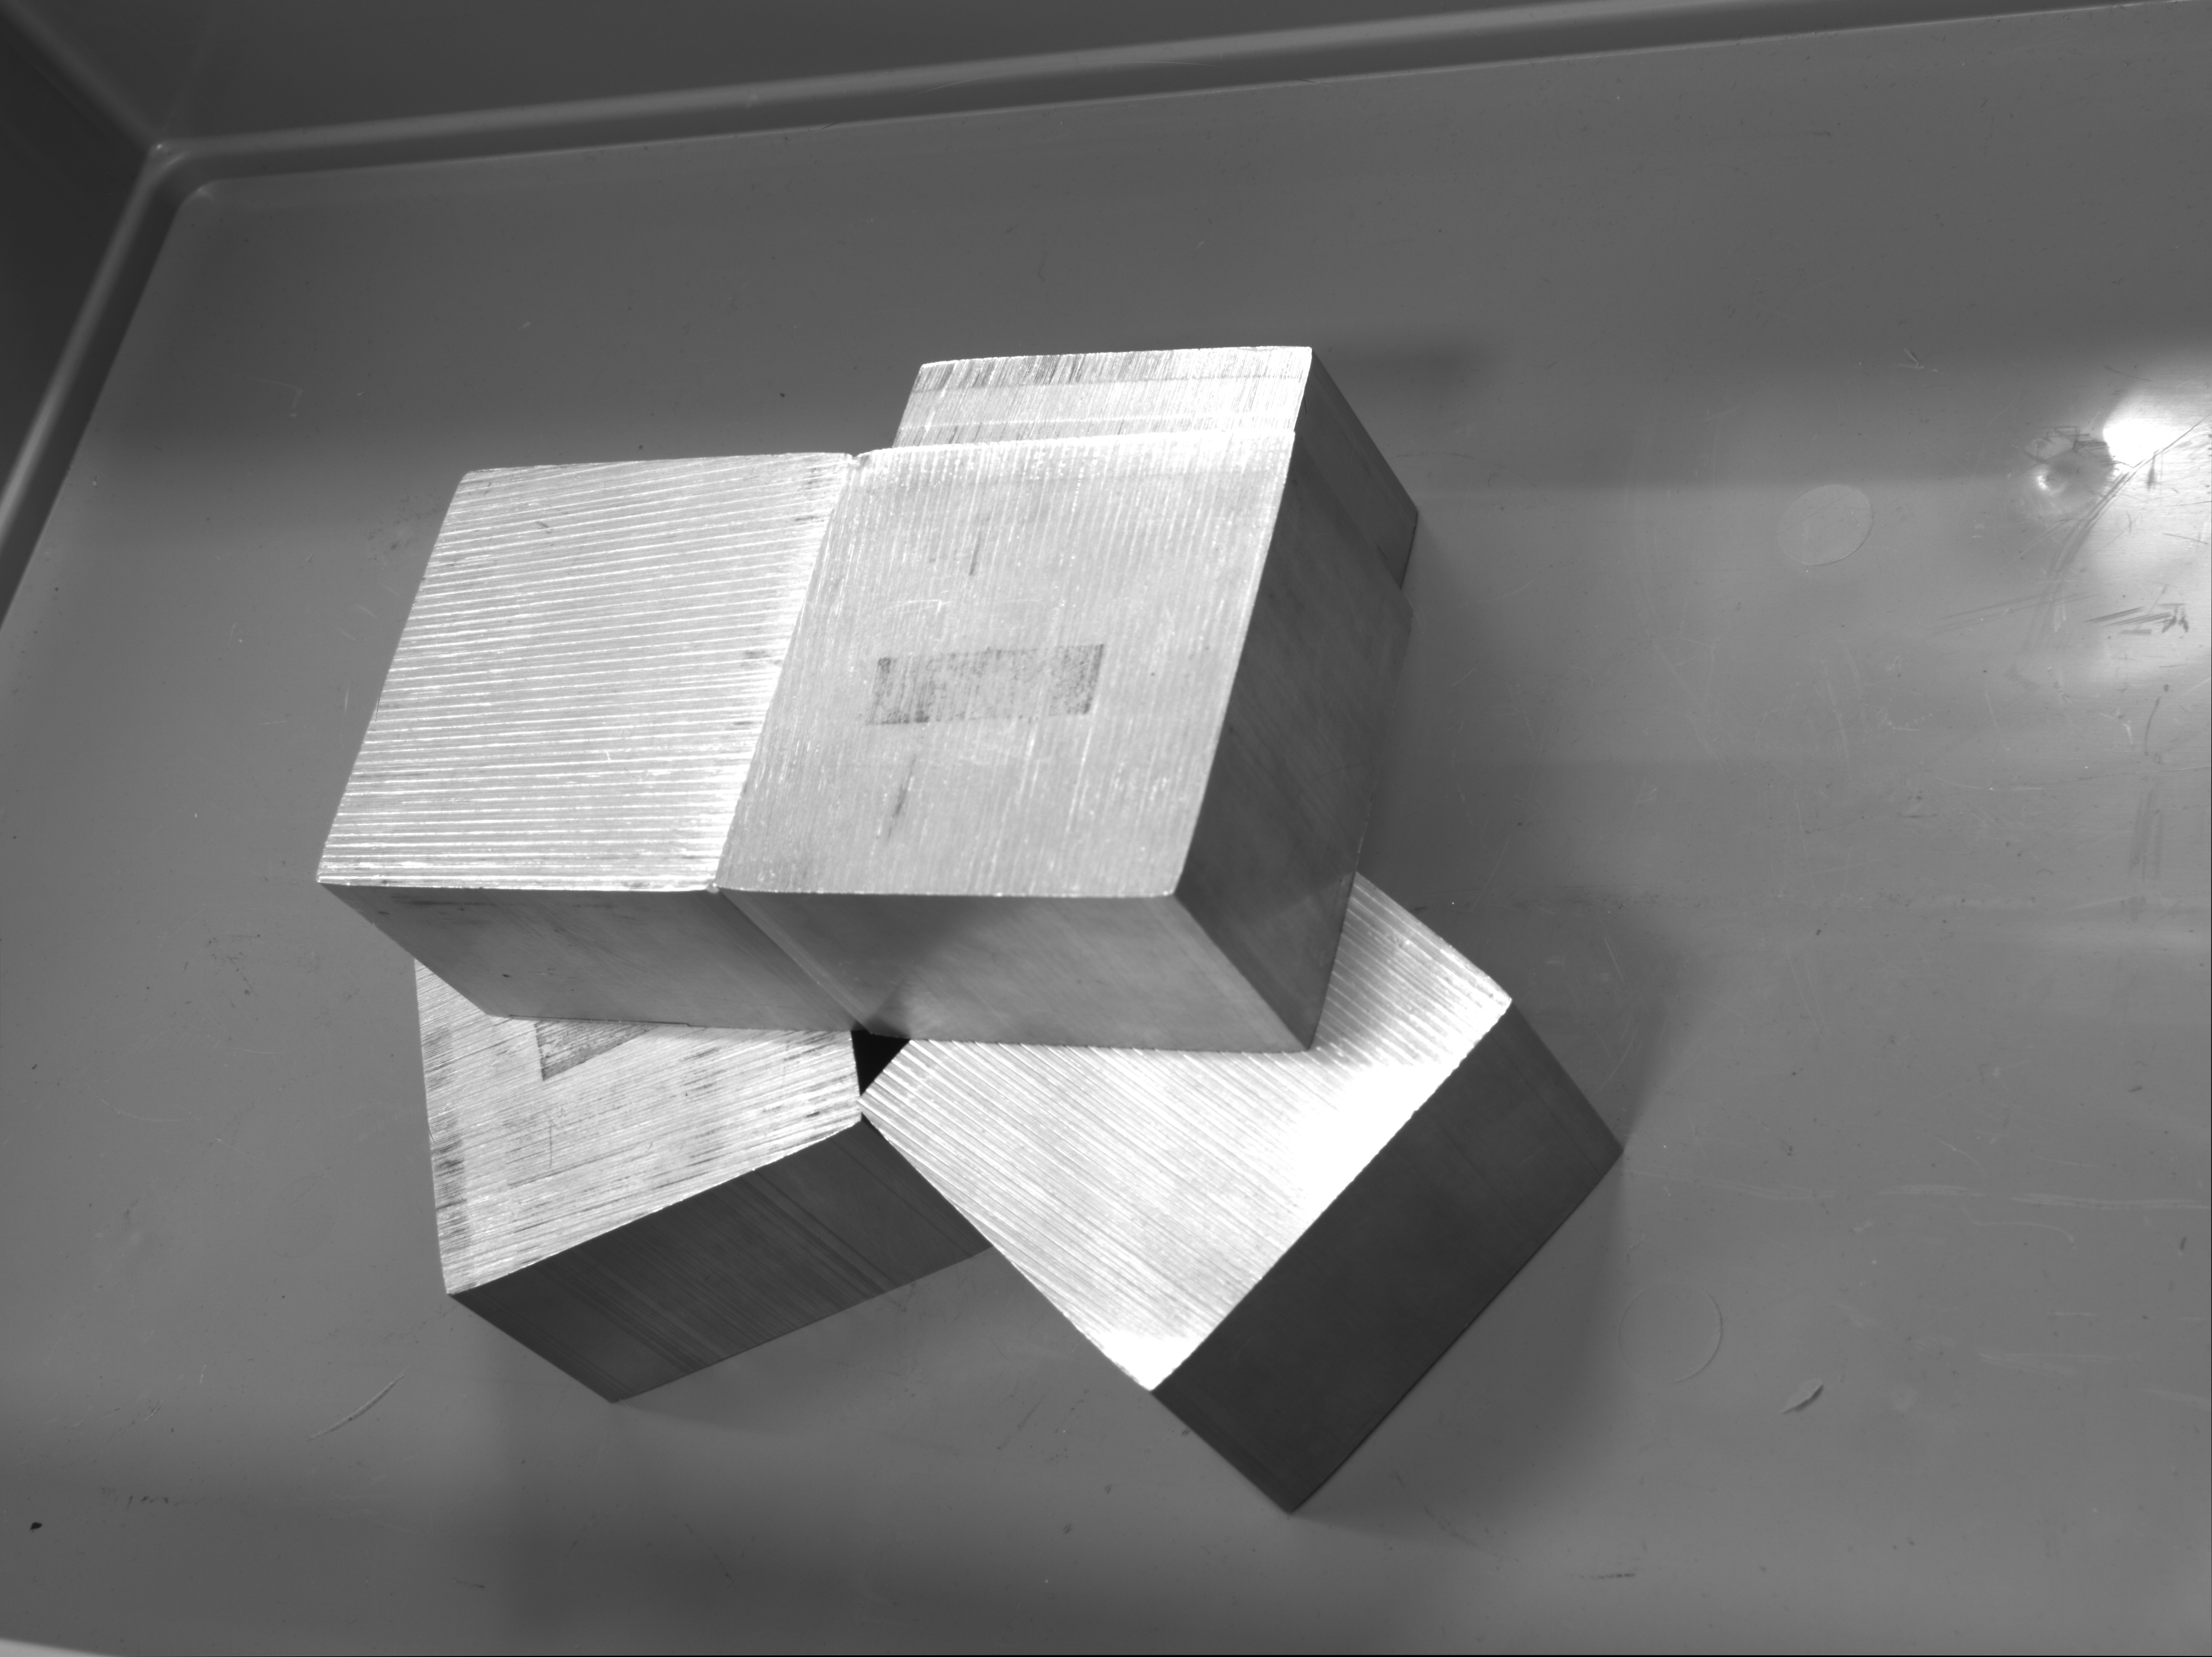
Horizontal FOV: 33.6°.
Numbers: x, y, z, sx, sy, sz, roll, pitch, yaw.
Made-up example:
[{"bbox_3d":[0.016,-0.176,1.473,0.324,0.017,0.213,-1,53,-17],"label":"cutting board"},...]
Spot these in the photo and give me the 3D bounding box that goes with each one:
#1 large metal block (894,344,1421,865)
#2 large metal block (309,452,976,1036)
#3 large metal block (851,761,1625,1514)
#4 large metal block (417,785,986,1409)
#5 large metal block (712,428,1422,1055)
[{"bbox_3d":[0.002,-0.037,0.649,0.080,0.050,0.080,1,62,29],"label":"large metal block"},{"bbox_3d":[-0.074,-0.014,0.611,0.080,0.050,0.080,1,62,29],"label":"large metal block"},{"bbox_3d":[0.021,0.047,0.585,0.080,0.050,0.080,-47,50,-5],"label":"large metal block"},{"bbox_3d":[-0.070,0.043,0.639,0.080,0.050,0.080,-24,53,14],"label":"large metal block"},{"bbox_3d":[-0.004,-0.013,0.571,0.080,0.050,0.080,1,62,29],"label":"large metal block"}]
